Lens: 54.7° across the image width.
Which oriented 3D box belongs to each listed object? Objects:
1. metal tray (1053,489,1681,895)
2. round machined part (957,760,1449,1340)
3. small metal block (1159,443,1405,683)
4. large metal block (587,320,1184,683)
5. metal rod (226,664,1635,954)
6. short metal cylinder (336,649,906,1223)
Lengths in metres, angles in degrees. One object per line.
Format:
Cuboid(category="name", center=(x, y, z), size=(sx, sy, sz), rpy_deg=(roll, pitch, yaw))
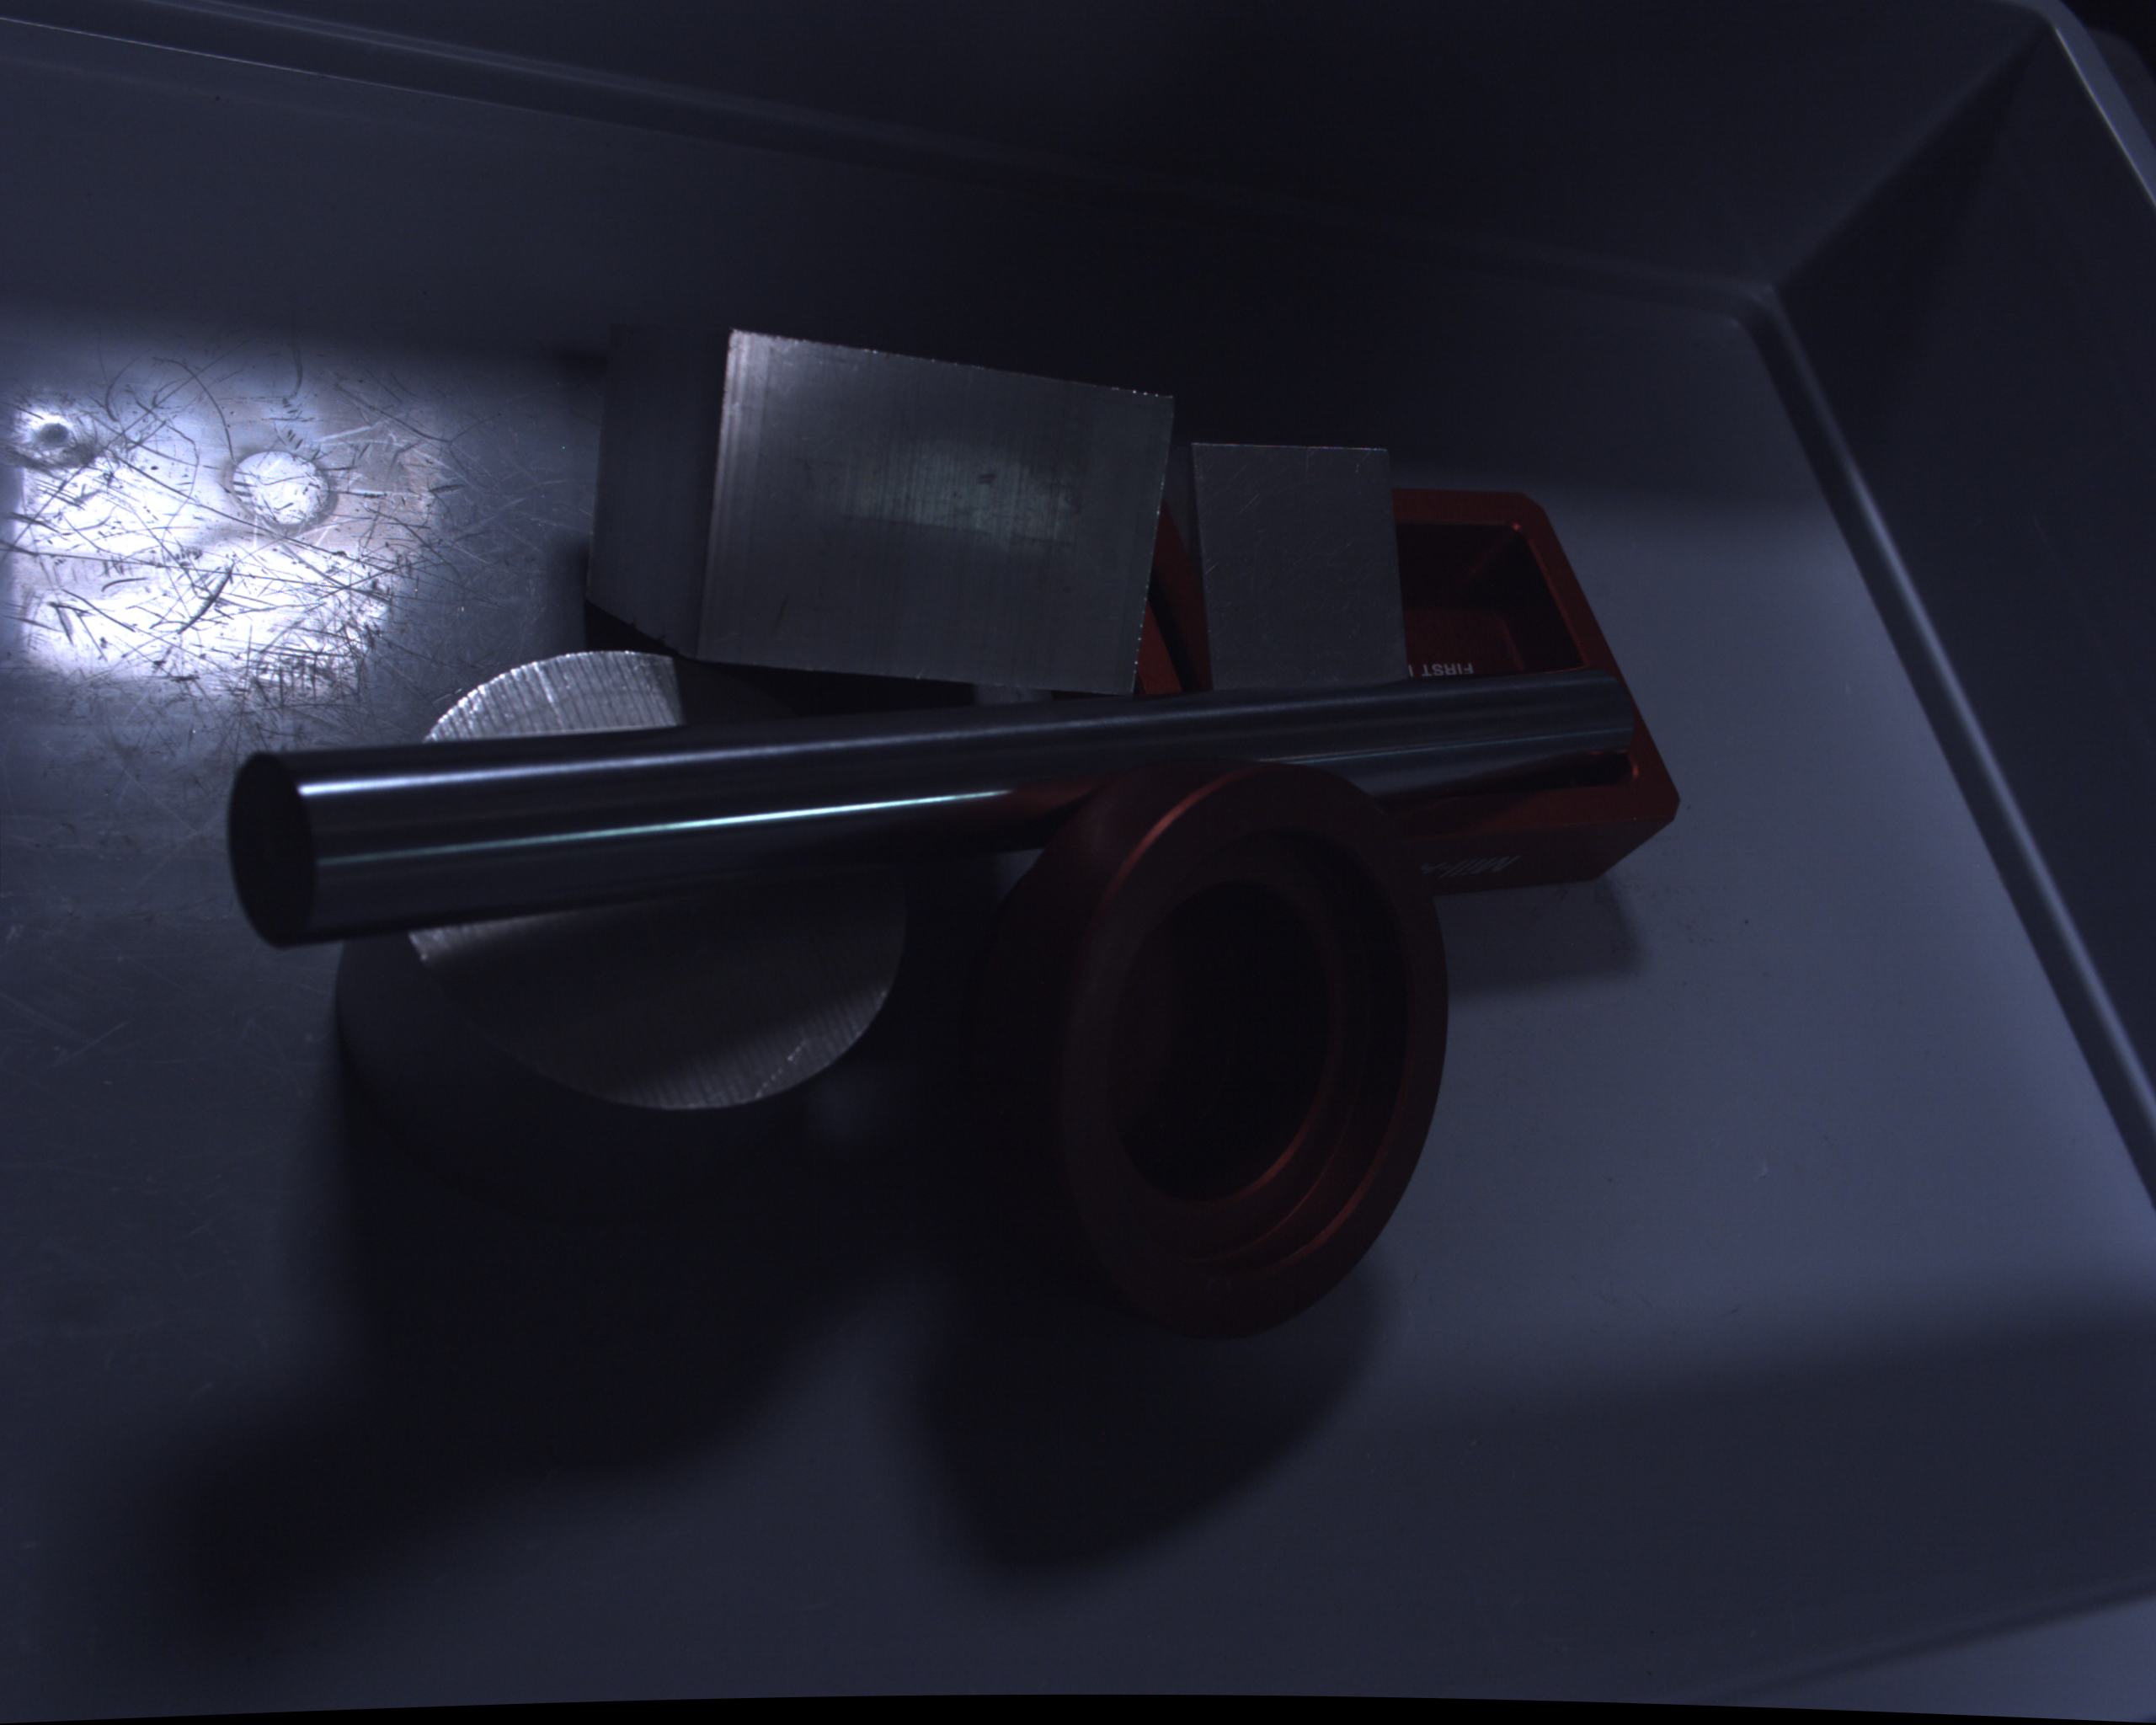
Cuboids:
Cuboid(category="metal tray", center=(0.061, -0.038, 0.457), size=(0.131, 0.030, 0.090), rpy_deg=(-5, 64, -31))
Cuboid(category="round machined part", center=(0.018, 0.030, 0.365), size=(0.099, 0.042, 0.097), rpy_deg=(-6, 99, -42))
Cuboid(category="small metal block", center=(0.039, -0.060, 0.435), size=(0.050, 0.025, 0.050), rpy_deg=(-5, 90, -31))
Cuboid(category="large metal block", center=(-0.038, -0.067, 0.380), size=(0.081, 0.080, 0.050), rpy_deg=(2, 103, -26))
Cuboid(category="metal rod", center=(0.007, -0.017, 0.366), size=(0.302, 0.025, 0.025), rpy_deg=(-8, 66, -44))
Cuboid(category="short metal cylinder", center=(-0.075, 0.012, 0.340), size=(0.081, 0.050, 0.080), rpy_deg=(14, 56, -21))
